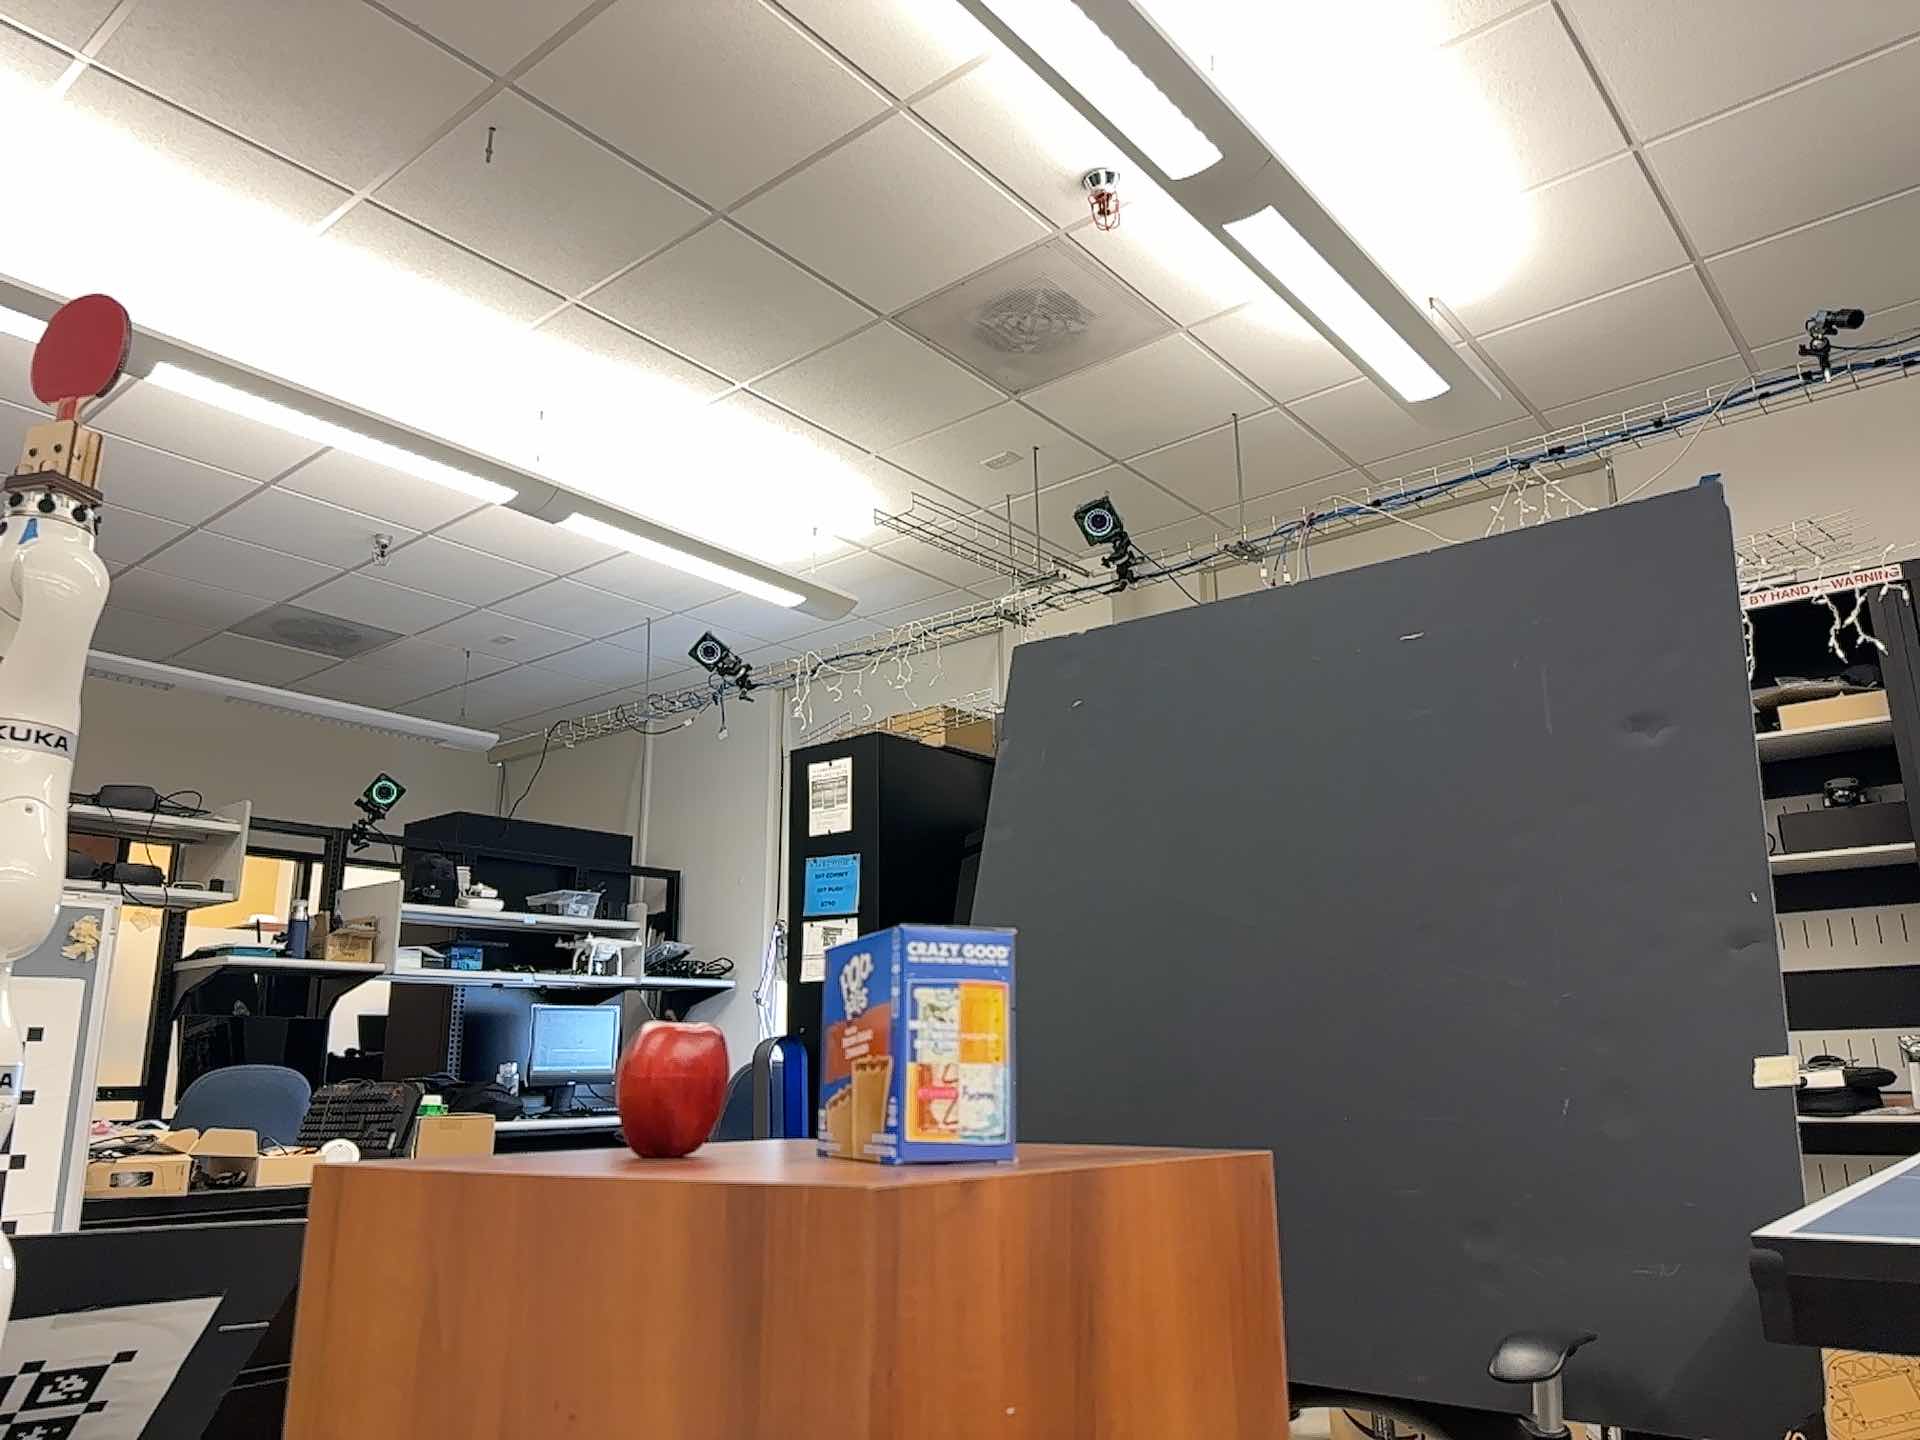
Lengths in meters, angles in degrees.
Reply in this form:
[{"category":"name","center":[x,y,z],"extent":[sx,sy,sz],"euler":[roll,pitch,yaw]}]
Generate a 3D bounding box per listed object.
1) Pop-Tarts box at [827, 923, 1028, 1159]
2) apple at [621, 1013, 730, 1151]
[{"category":"Pop-Tarts box","center":[-0.027,0.215,0.890],"extent":[0.075,0.135,0.161],"euler":[6,-17,-21]},{"category":"apple","center":[-0.202,0.253,0.945],"extent":[0.079,0.093,0.079],"euler":[-1,-14,0]}]
